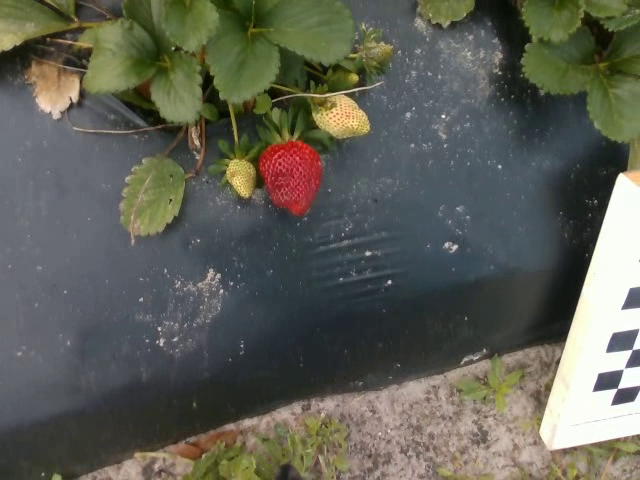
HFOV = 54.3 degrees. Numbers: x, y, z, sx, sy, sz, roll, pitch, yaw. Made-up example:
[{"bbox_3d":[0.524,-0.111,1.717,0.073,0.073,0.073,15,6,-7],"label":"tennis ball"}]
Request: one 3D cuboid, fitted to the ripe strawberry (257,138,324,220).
[{"bbox_3d":[-0.017,-0.037,0.404,0.046,0.059,0.046,-11,-32,-3],"label":"ripe strawberry"}]
